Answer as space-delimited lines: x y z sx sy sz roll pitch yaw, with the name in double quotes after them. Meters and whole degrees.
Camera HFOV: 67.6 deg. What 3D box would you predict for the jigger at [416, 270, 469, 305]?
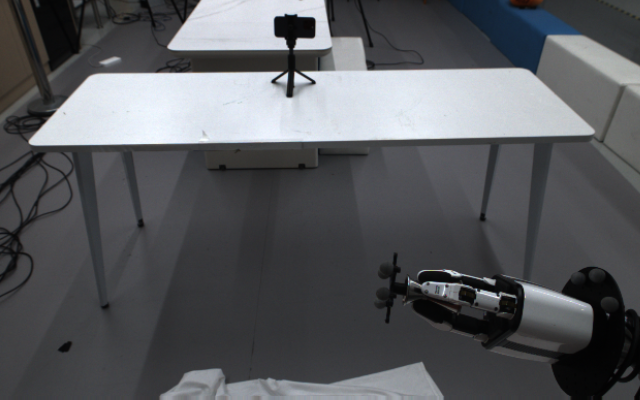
0.148 0.113 0.614 0.071 0.043 0.043 6 35 5 "jigger"
